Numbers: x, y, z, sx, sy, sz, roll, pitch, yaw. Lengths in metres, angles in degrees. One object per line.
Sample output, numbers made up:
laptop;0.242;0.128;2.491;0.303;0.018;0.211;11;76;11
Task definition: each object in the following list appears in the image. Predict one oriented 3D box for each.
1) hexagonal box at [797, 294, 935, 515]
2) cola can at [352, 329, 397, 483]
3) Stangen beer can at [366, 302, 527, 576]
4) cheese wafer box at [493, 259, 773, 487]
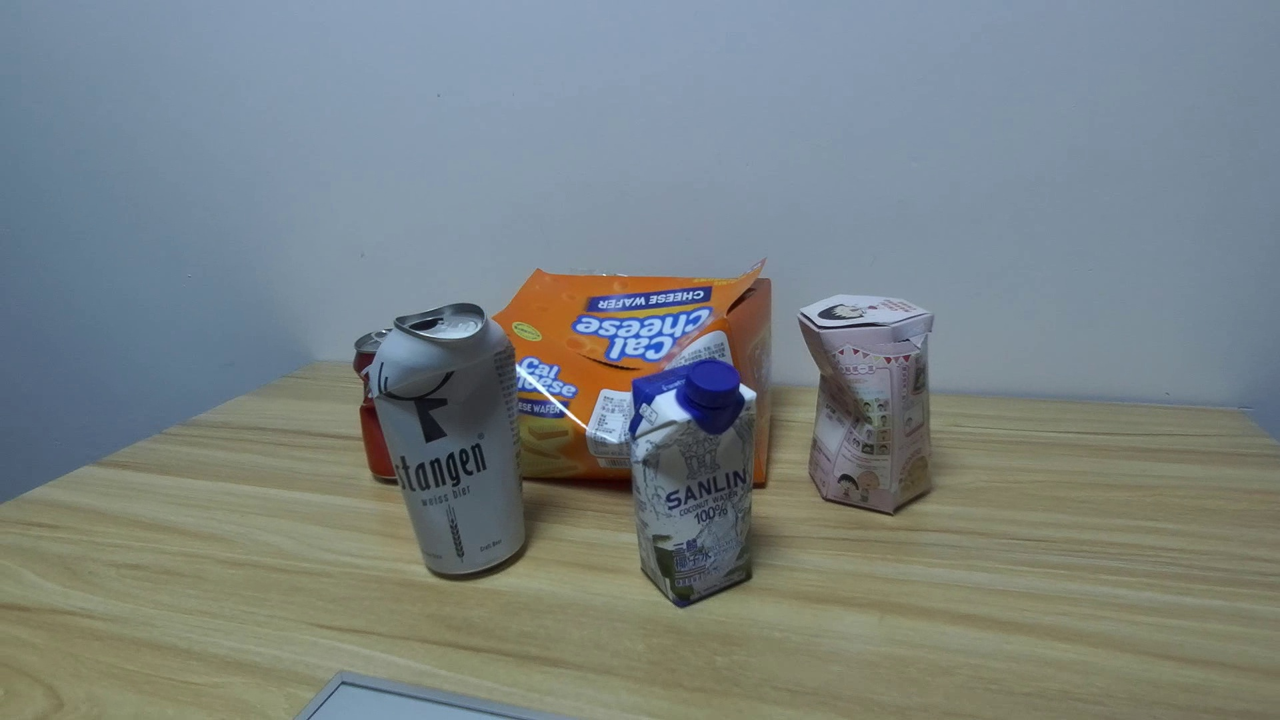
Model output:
hexagonal box;0.157;0.029;0.497;0.089;0.134;0.091;7;21;36
cola can;-0.196;0.035;0.577;0.066;0.117;0.066;-9;21;-20
Stangen beer can;-0.113;0.051;0.437;0.065;0.162;0.077;0;20;10
cheese wafer box;-0.006;0.007;0.573;0.218;0.145;0.191;1;19;11
